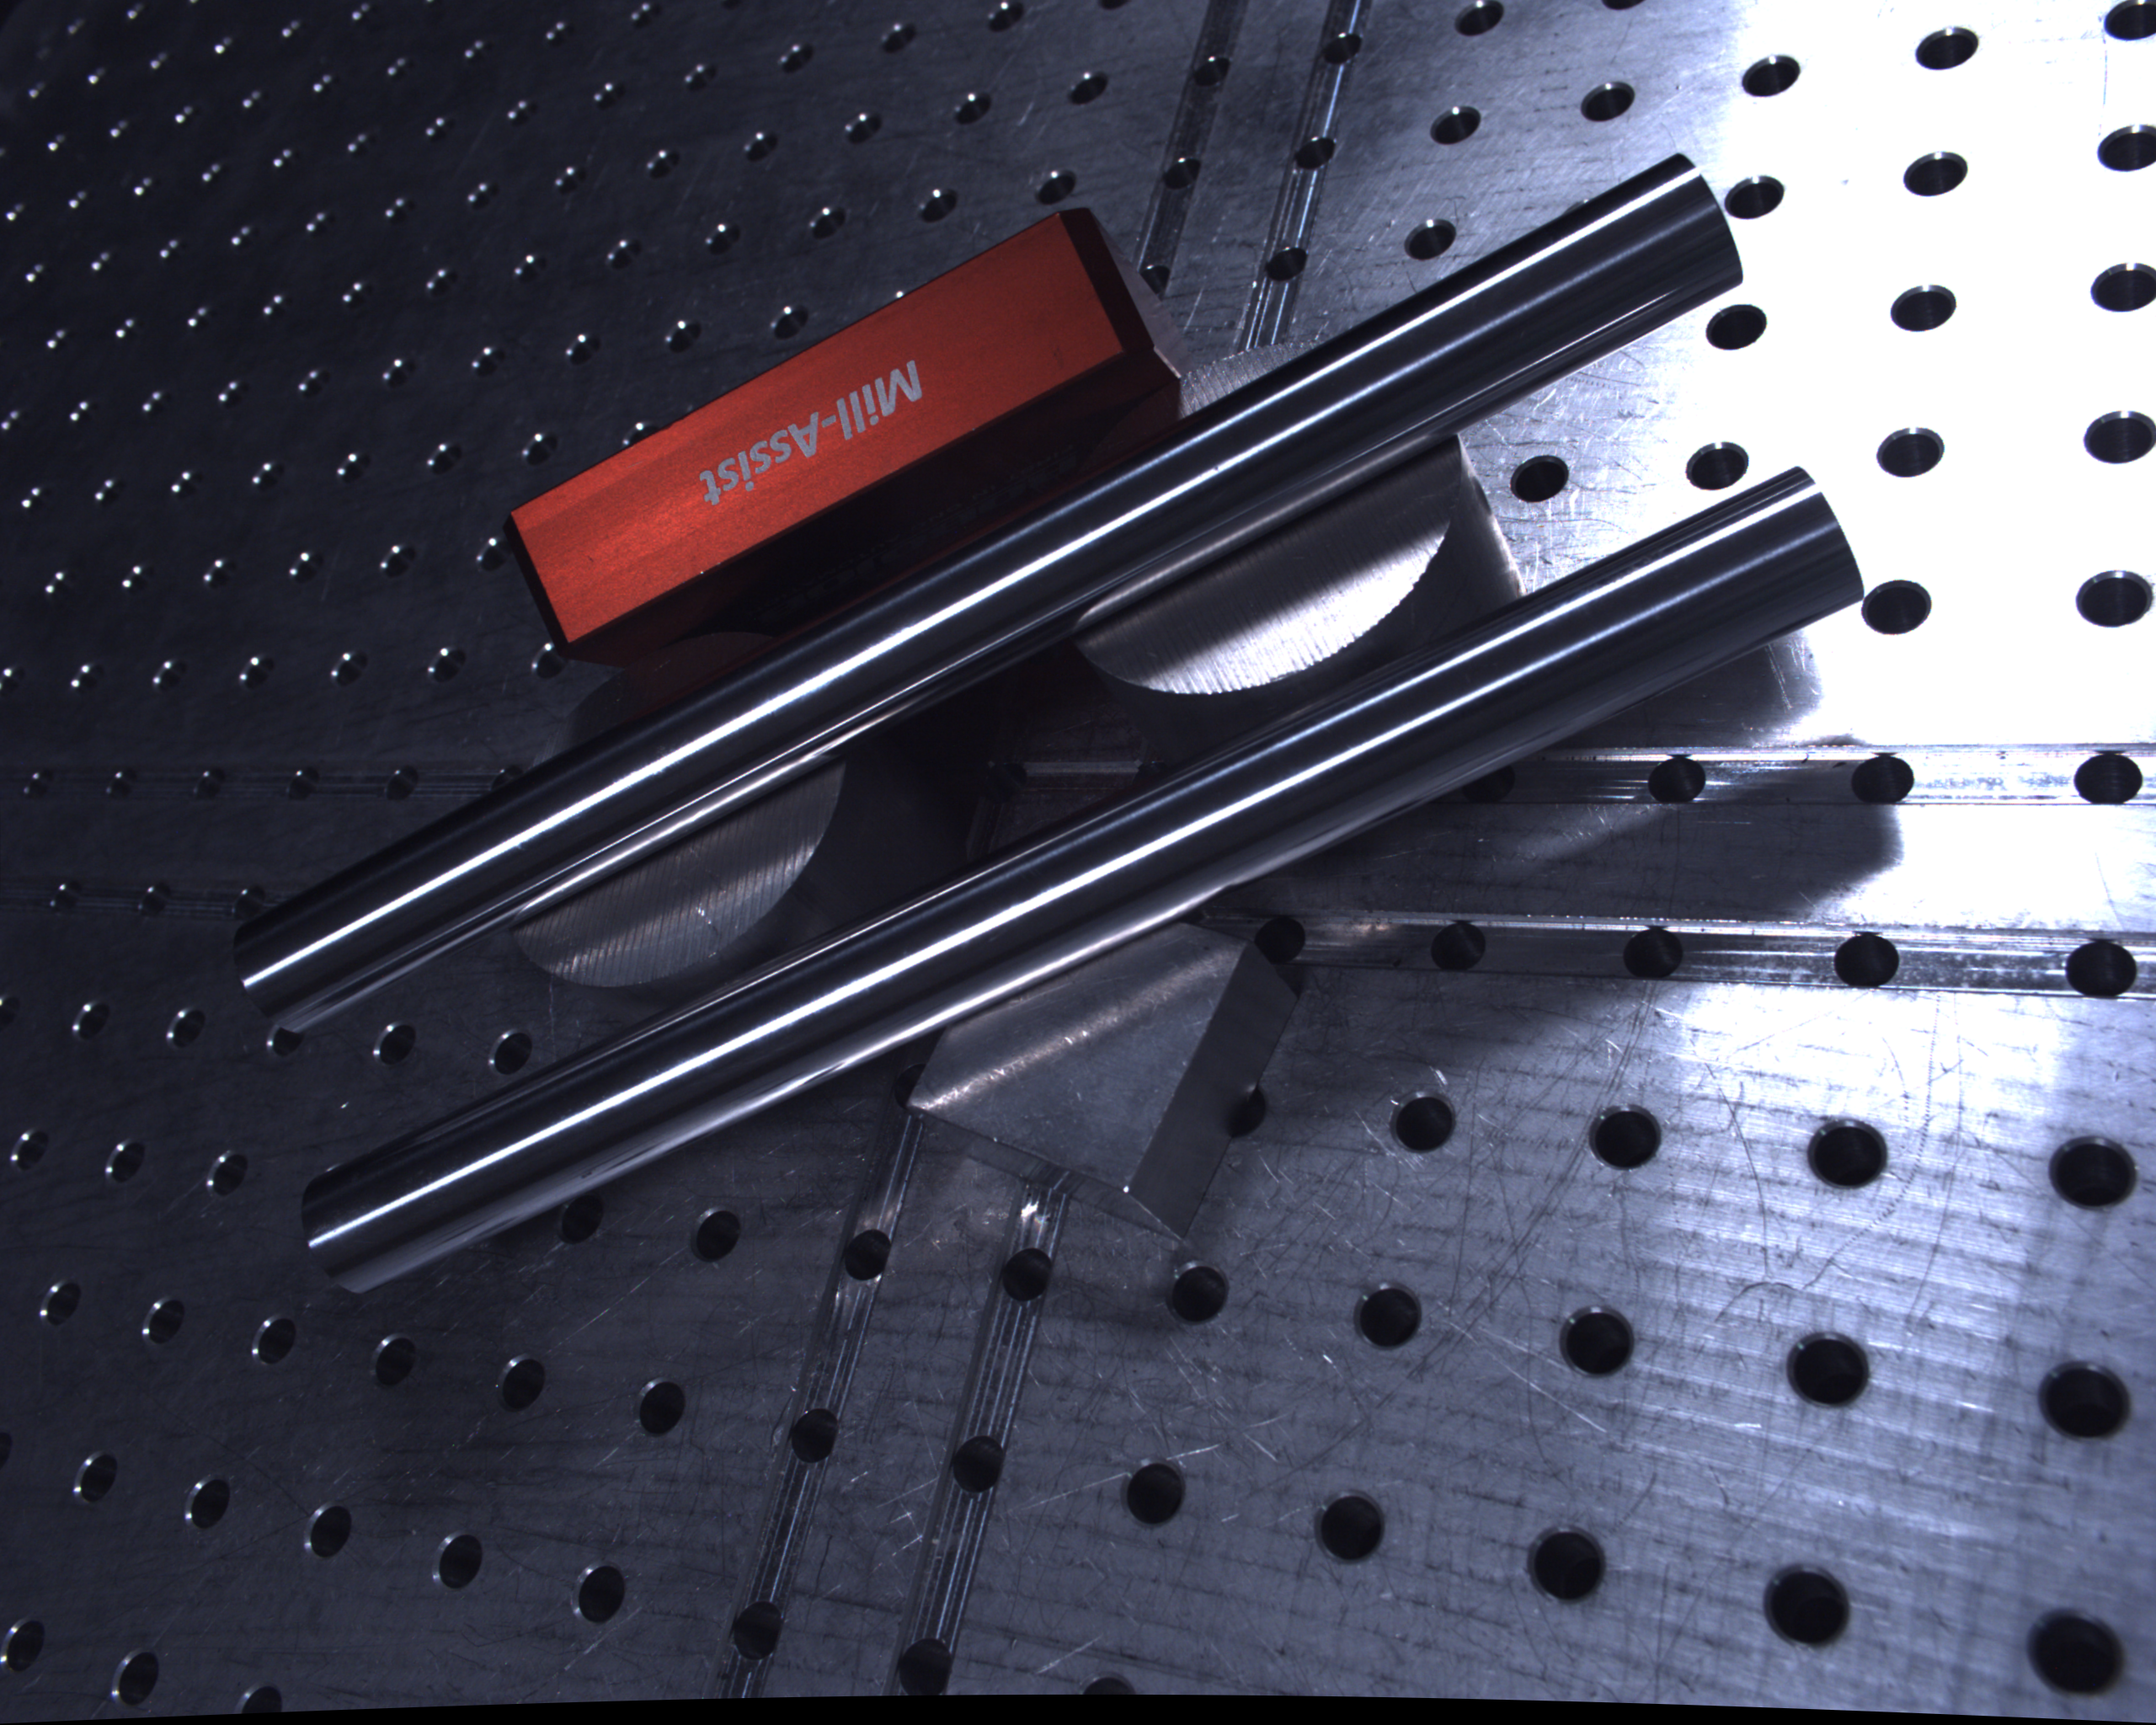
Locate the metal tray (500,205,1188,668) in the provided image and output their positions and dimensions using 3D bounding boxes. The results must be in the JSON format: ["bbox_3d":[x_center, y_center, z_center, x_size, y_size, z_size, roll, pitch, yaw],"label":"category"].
[{"bbox_3d":[-0.041,-0.081,0.434,0.130,0.090,0.030,-25,85,12],"label":"metal tray"}]

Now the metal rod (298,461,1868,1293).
[{"bbox_3d":[-0.009,0.008,0.373,0.301,0.025,0.025,-25,53,12],"label":"metal rod"}]

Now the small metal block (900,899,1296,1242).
[{"bbox_3d":[0.004,0.035,0.382,0.050,0.025,0.050,16,70,34],"label":"small metal block"}]

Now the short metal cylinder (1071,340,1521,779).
[{"bbox_3d":[0.042,-0.053,0.402,0.080,0.050,0.080,-13,56,20],"label":"short metal cylinder"}]

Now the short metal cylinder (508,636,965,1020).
[{"bbox_3d":[-0.070,0.001,0.427,0.080,0.050,0.080,-13,56,20],"label":"short metal cylinder"}]

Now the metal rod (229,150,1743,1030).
[{"bbox_3d":[-0.025,-0.044,0.381,0.301,0.025,0.025,-26,53,11],"label":"metal rod"}]
